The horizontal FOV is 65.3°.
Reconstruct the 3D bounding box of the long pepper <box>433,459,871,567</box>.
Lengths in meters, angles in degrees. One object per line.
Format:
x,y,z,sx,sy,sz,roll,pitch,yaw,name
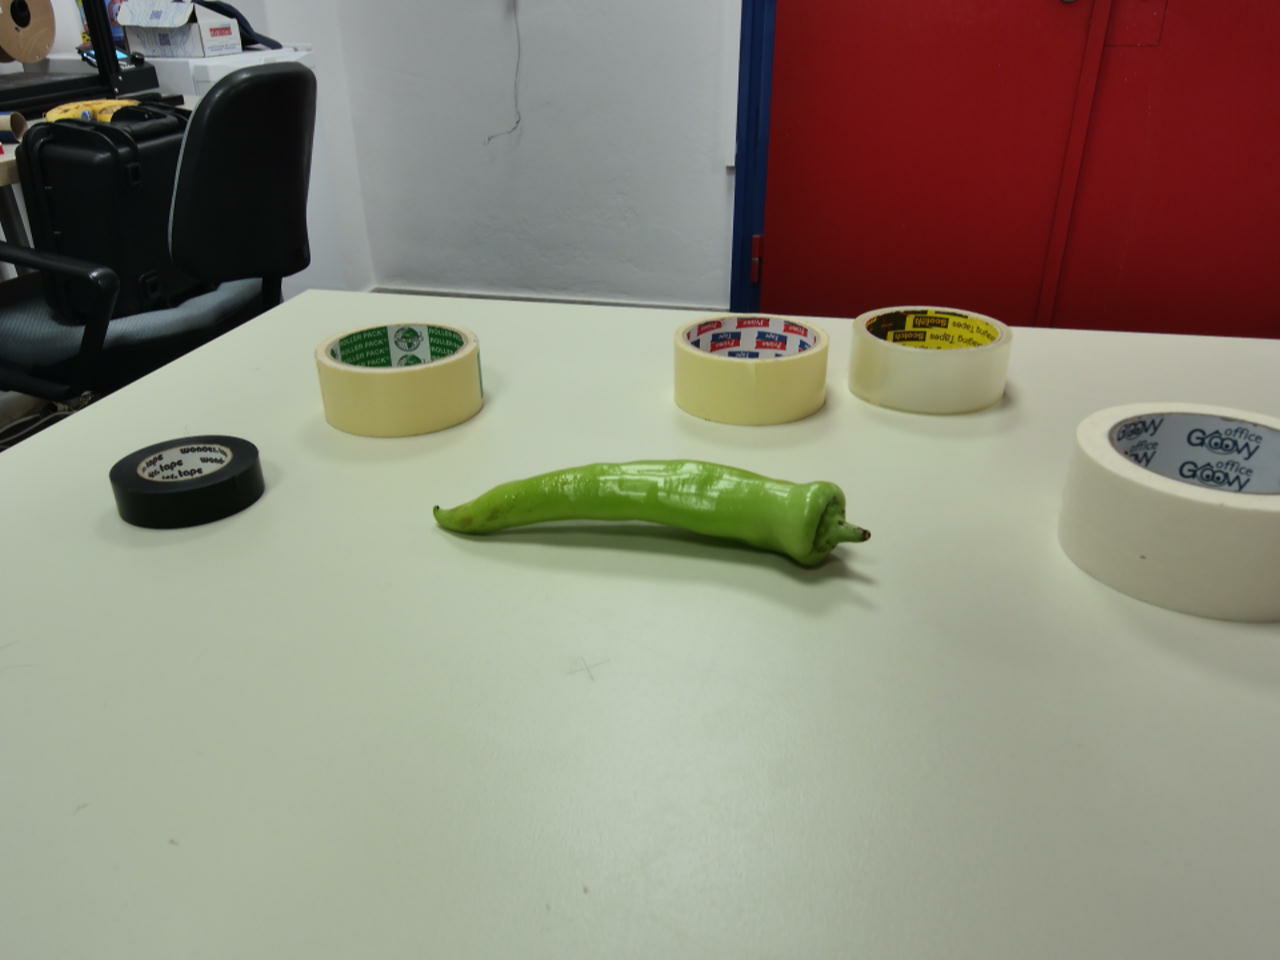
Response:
0.003,0.009,0.442,0.197,0.038,0.046,6,25,14,long pepper
